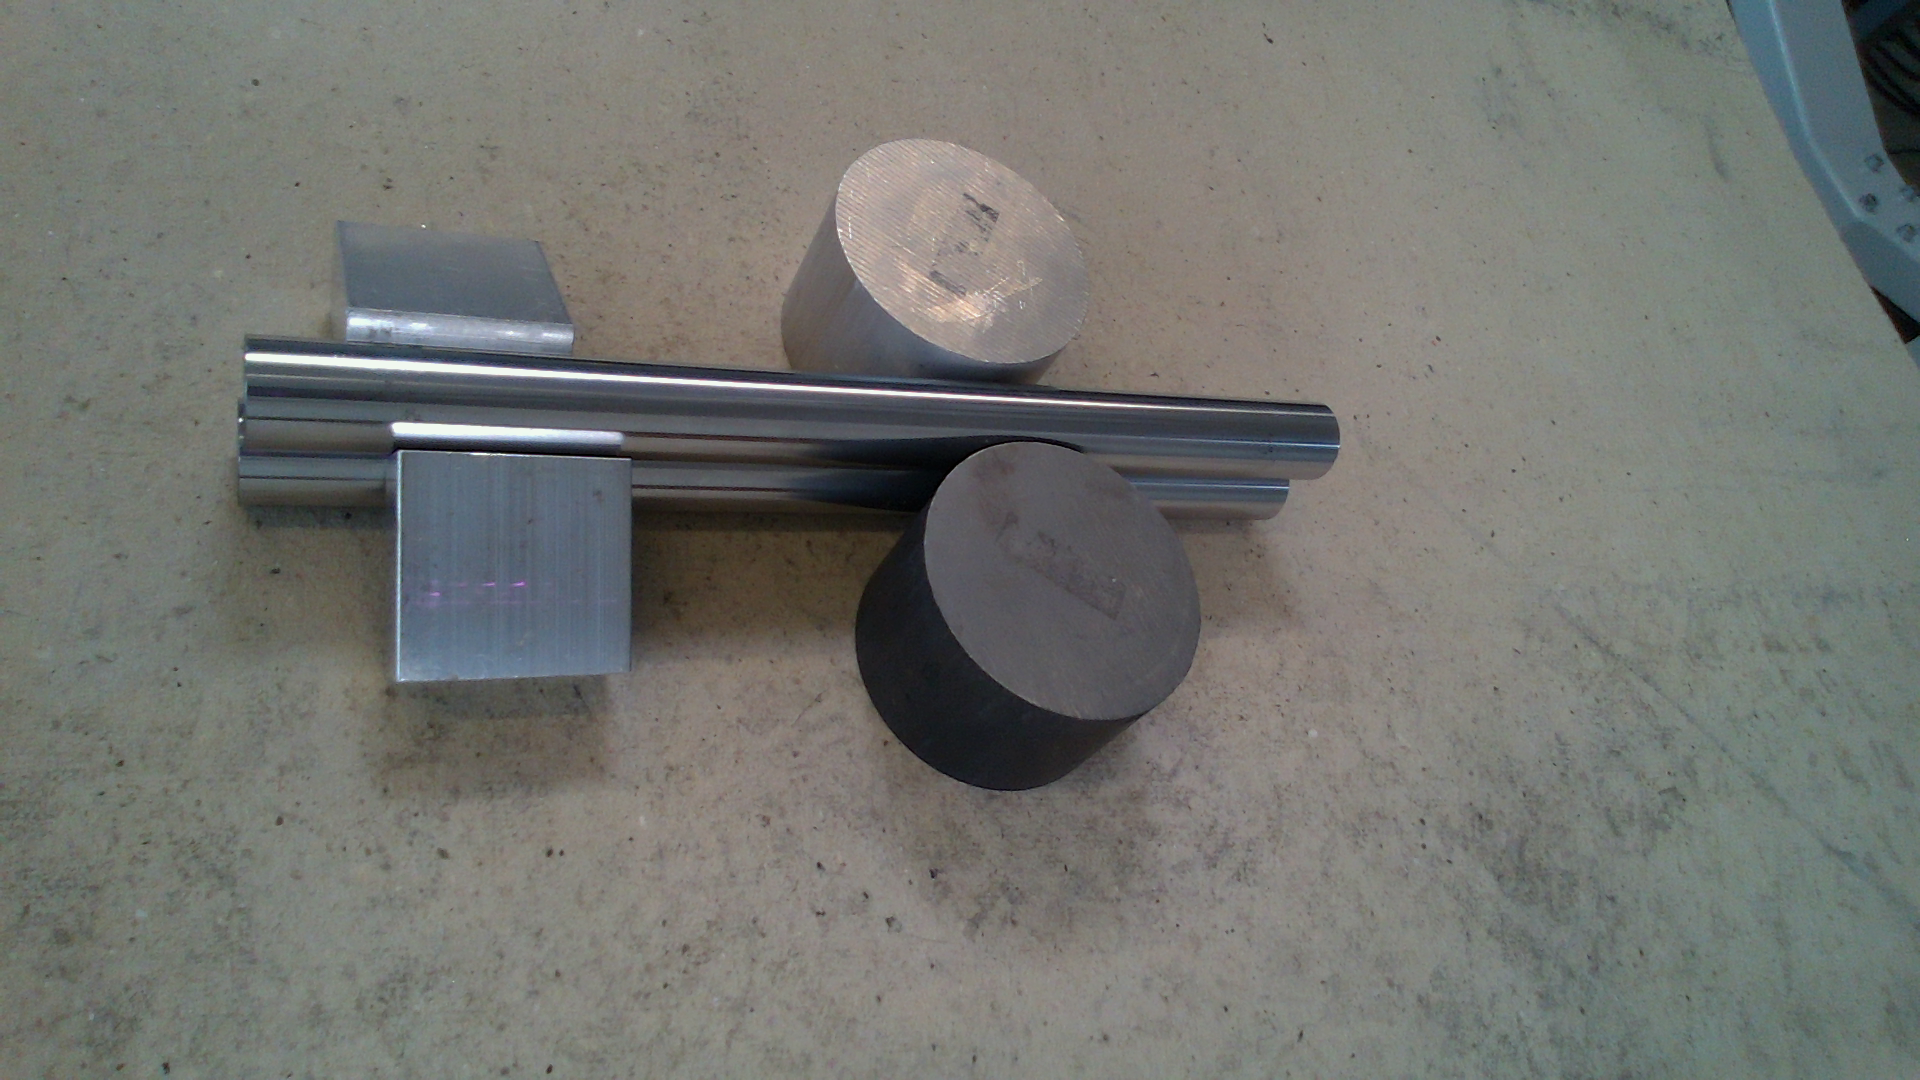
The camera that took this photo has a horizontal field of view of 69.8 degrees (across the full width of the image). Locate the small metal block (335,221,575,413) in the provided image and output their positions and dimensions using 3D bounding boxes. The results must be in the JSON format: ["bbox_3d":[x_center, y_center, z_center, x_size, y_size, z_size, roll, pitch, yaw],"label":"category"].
[{"bbox_3d":[-0.127,-0.055,0.343,0.050,0.025,0.050,0,34,-28],"label":"small metal block"}]

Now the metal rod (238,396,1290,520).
[{"bbox_3d":[-0.032,-0.020,0.385,0.301,0.025,0.025,0,61,-28],"label":"metal rod"}]

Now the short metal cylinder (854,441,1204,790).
[{"bbox_3d":[0.018,0.021,0.370,0.080,0.050,0.080,14,56,-21],"label":"short metal cylinder"}]

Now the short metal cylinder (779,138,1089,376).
[{"bbox_3d":[-0.008,-0.072,0.413,0.080,0.050,0.080,14,56,-21],"label":"short metal cylinder"}]

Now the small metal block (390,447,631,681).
[{"bbox_3d":[-0.104,0.006,0.317,0.050,0.025,0.050,1,88,-28],"label":"small metal block"}]

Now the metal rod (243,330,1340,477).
[{"bbox_3d":[-0.021,-0.032,0.366,0.301,0.025,0.025,0,62,-28],"label":"metal rod"}]
